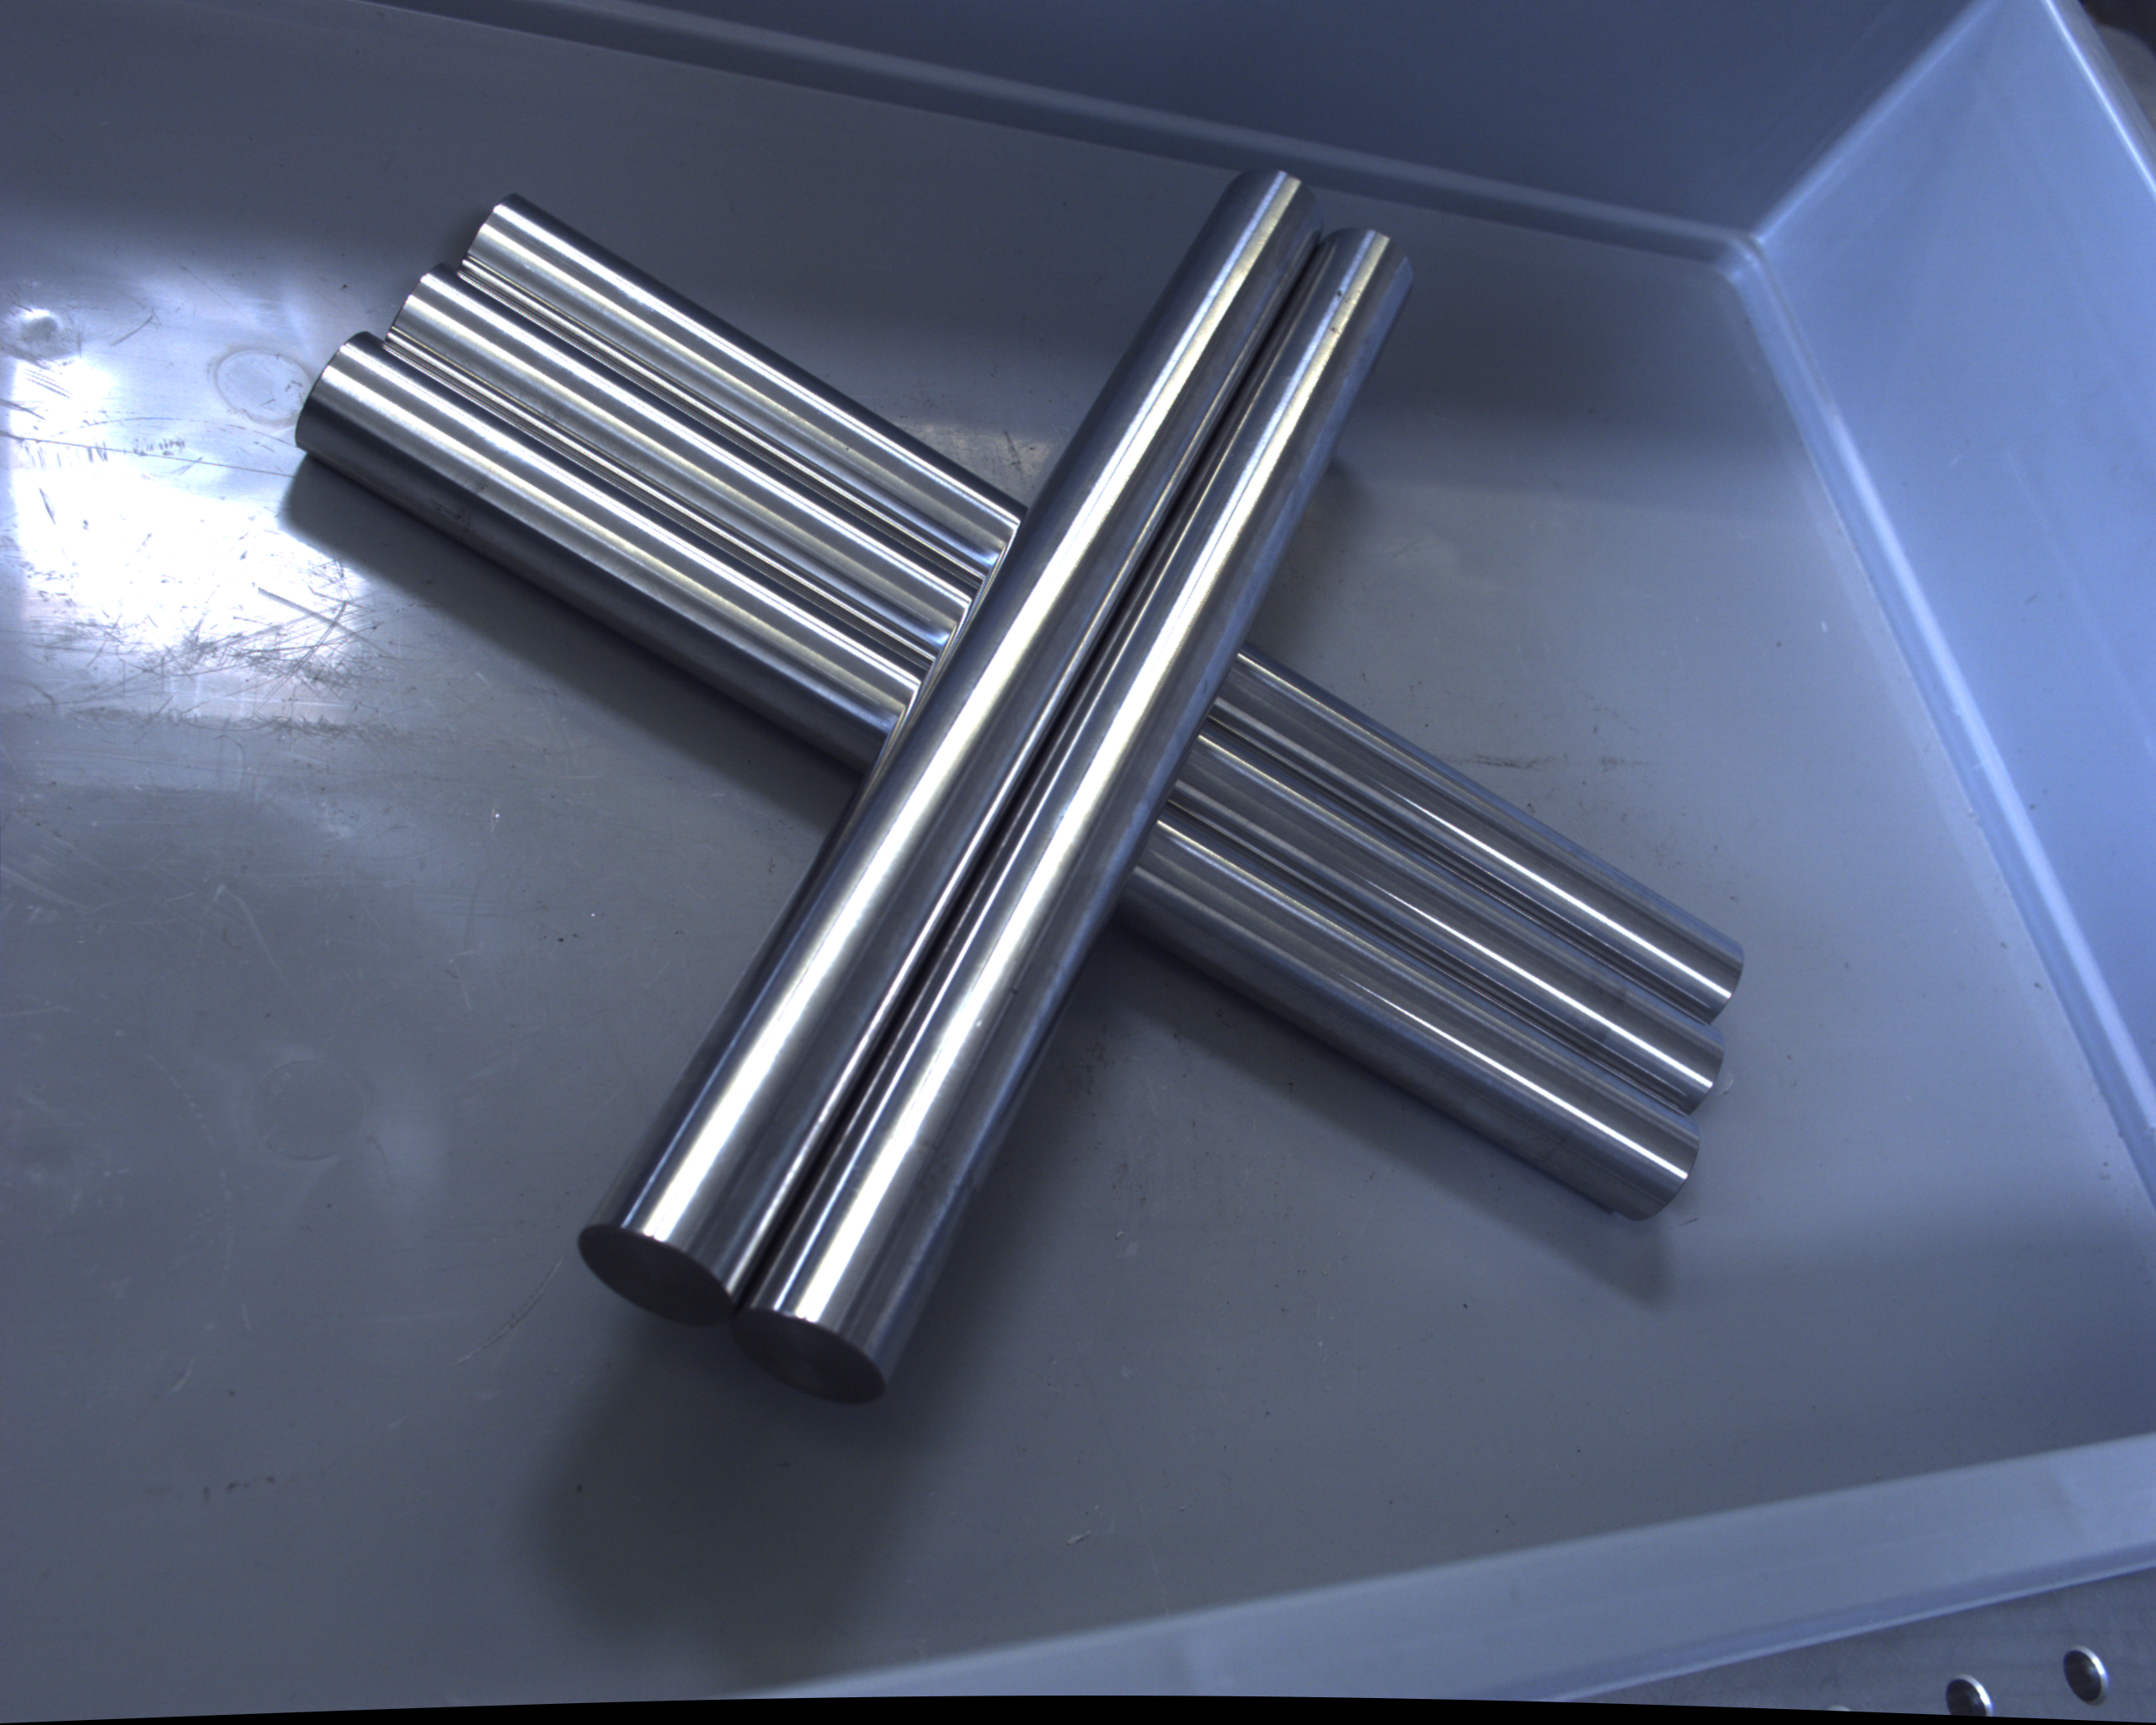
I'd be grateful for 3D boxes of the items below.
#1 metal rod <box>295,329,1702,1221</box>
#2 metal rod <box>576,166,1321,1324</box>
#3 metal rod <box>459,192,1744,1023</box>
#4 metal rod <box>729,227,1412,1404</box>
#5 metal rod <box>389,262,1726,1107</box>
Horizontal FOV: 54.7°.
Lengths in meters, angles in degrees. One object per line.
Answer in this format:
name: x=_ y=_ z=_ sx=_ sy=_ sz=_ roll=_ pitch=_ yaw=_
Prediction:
metal rod: x=-0.008 y=-0.012 z=0.406 sx=0.301 sy=0.025 sz=0.025 roll=30 pitch=52 yaw=-9
metal rod: x=-0.008 y=-0.046 z=0.395 sx=0.025 sy=0.025 sz=0.301 roll=33 pitch=51 yaw=-7
metal rod: x=0.011 y=-0.047 z=0.438 sx=0.301 sy=0.025 sz=0.025 roll=30 pitch=52 yaw=-9
metal rod: x=0.013 y=-0.033 z=0.399 sx=0.025 sy=0.025 sz=0.301 roll=33 pitch=51 yaw=-7
metal rod: x=0.002 y=-0.029 z=0.422 sx=0.301 sy=0.025 sz=0.025 roll=30 pitch=52 yaw=-9
